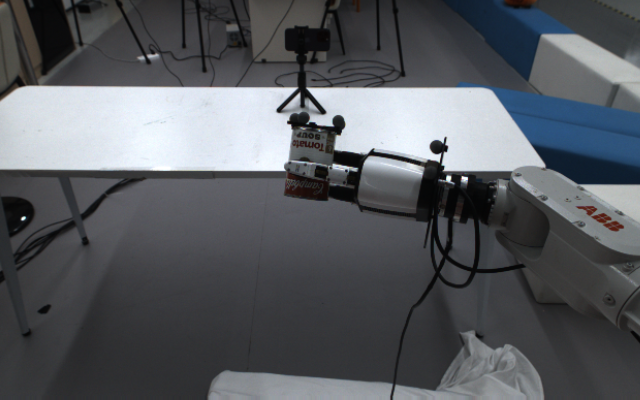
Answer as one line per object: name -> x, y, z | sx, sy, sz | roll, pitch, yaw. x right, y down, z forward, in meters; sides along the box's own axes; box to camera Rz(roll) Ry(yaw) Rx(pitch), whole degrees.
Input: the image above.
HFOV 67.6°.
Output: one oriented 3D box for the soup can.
soup can -> -0.014, -0.053, 0.720 | 0.067, 0.101, 0.067 | 7, 4, 0
